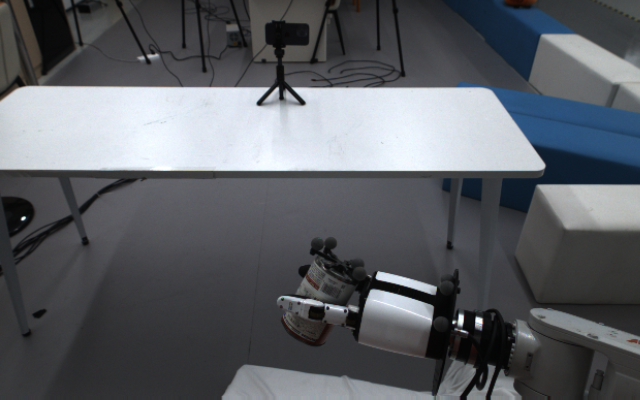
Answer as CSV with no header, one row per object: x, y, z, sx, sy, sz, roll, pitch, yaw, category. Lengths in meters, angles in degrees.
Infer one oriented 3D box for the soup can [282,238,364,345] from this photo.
0.003,0.133,0.641,0.067,0.101,0.067,27,10,-5,soup can
